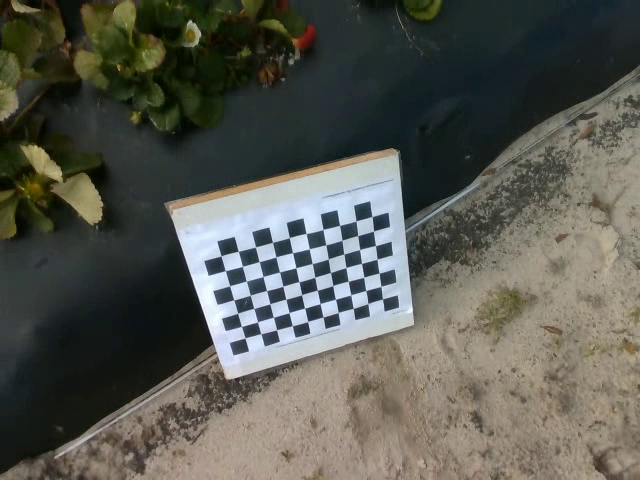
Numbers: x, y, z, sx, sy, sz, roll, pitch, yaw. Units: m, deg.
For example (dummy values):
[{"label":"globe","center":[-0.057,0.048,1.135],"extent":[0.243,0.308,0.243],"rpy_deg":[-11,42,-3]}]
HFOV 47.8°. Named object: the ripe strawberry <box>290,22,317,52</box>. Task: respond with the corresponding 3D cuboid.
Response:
[{"label":"ripe strawberry","center":[-0.012,-0.165,0.575],"extent":[0.027,0.021,0.022],"rpy_deg":[-31,-45,13]}]
